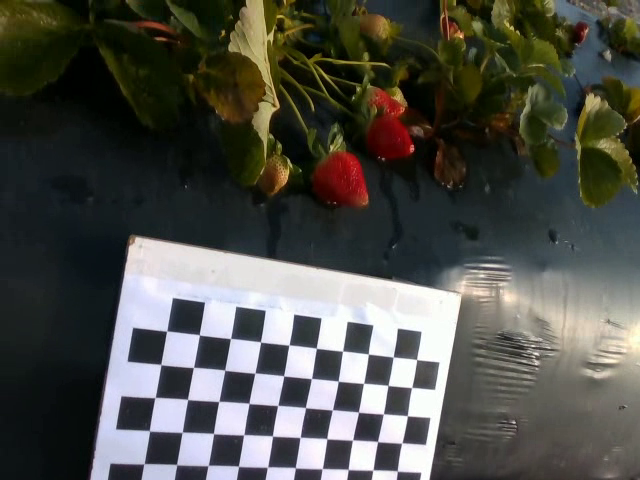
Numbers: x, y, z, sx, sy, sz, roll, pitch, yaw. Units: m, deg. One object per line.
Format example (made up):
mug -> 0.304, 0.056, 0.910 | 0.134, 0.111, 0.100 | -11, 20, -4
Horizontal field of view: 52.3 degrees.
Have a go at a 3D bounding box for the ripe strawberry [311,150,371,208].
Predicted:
ripe strawberry -> 0.022, -0.049, 0.548 | 0.050, 0.050, 0.065 | -31, 51, -16

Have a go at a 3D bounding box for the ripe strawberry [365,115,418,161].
ripe strawberry -> 0.068, -0.092, 0.607 | 0.055, 0.045, 0.042 | 31, -10, 29
